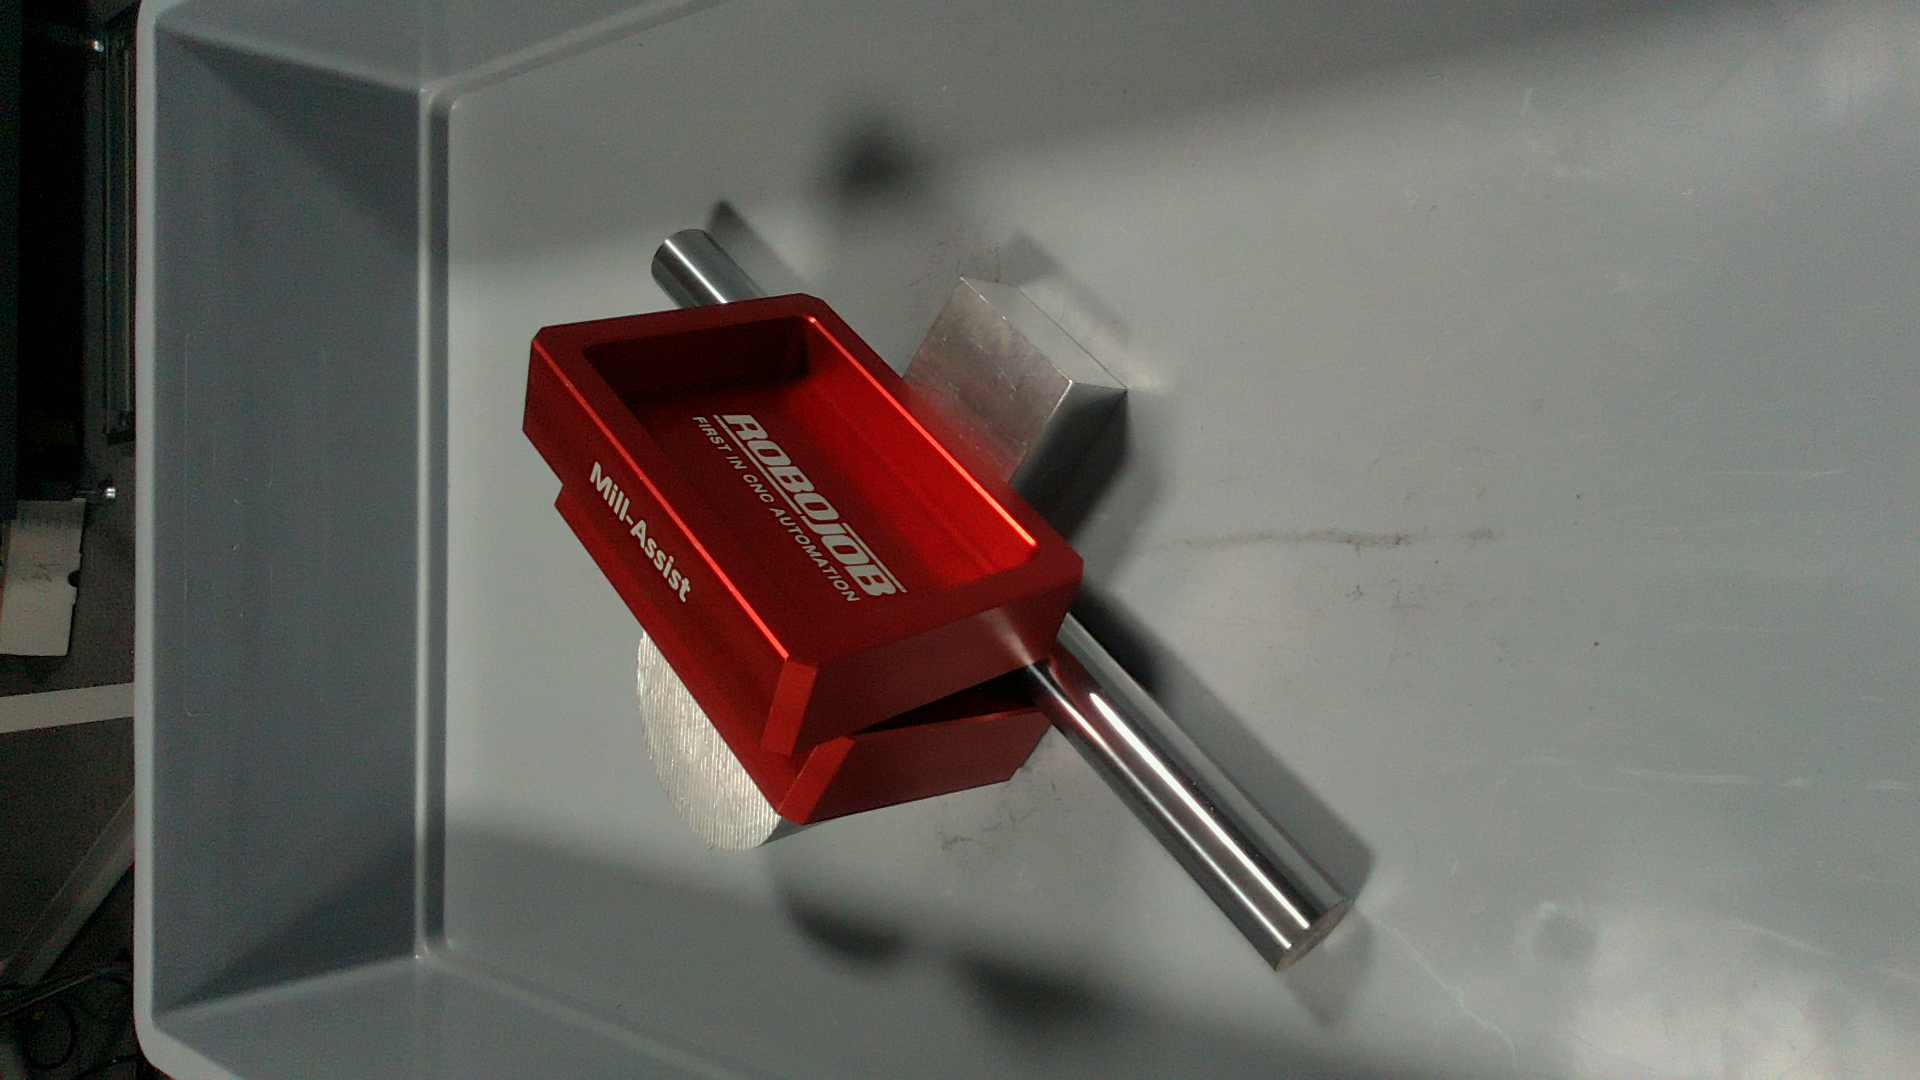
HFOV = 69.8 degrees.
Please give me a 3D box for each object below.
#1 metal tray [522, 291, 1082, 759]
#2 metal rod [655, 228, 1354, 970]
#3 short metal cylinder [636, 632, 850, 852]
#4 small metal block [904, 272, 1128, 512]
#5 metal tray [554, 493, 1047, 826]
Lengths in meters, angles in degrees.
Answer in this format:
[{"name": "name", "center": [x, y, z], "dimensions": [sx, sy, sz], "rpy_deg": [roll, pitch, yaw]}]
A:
[{"name": "metal tray", "center": [-0.043, -0.012, 0.354], "dimensions": [0.130, 0.090, 0.030], "rpy_deg": [47, 135, 30]}, {"name": "metal rod", "center": [-0.005, -0.002, 0.399], "dimensions": [0.299, 0.025, 0.025], "rpy_deg": [47, 118, 30]}, {"name": "short metal cylinder", "center": [-0.055, 0.048, 0.416], "dimensions": [0.080, 0.050, 0.080], "rpy_deg": [10, 104, 44]}, {"name": "small metal block", "center": [0.010, -0.038, 0.385], "dimensions": [0.050, 0.025, 0.050], "rpy_deg": [48, 119, 29]}, {"name": "metal tray", "center": [-0.043, 0.017, 0.387], "dimensions": [0.130, 0.090, 0.030], "rpy_deg": [47, 118, 30]}]
